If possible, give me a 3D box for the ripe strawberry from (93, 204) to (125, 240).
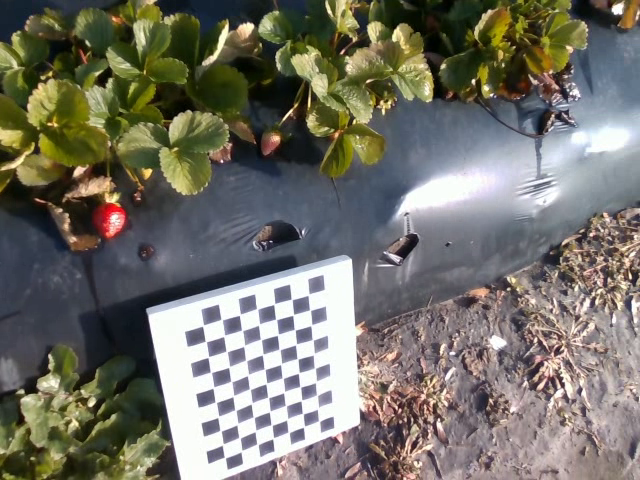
[{"bbox_3d":[-0.221,-0.013,0.722,0.046,0.054,0.037,6,-28,-28],"label":"ripe strawberry"}]
